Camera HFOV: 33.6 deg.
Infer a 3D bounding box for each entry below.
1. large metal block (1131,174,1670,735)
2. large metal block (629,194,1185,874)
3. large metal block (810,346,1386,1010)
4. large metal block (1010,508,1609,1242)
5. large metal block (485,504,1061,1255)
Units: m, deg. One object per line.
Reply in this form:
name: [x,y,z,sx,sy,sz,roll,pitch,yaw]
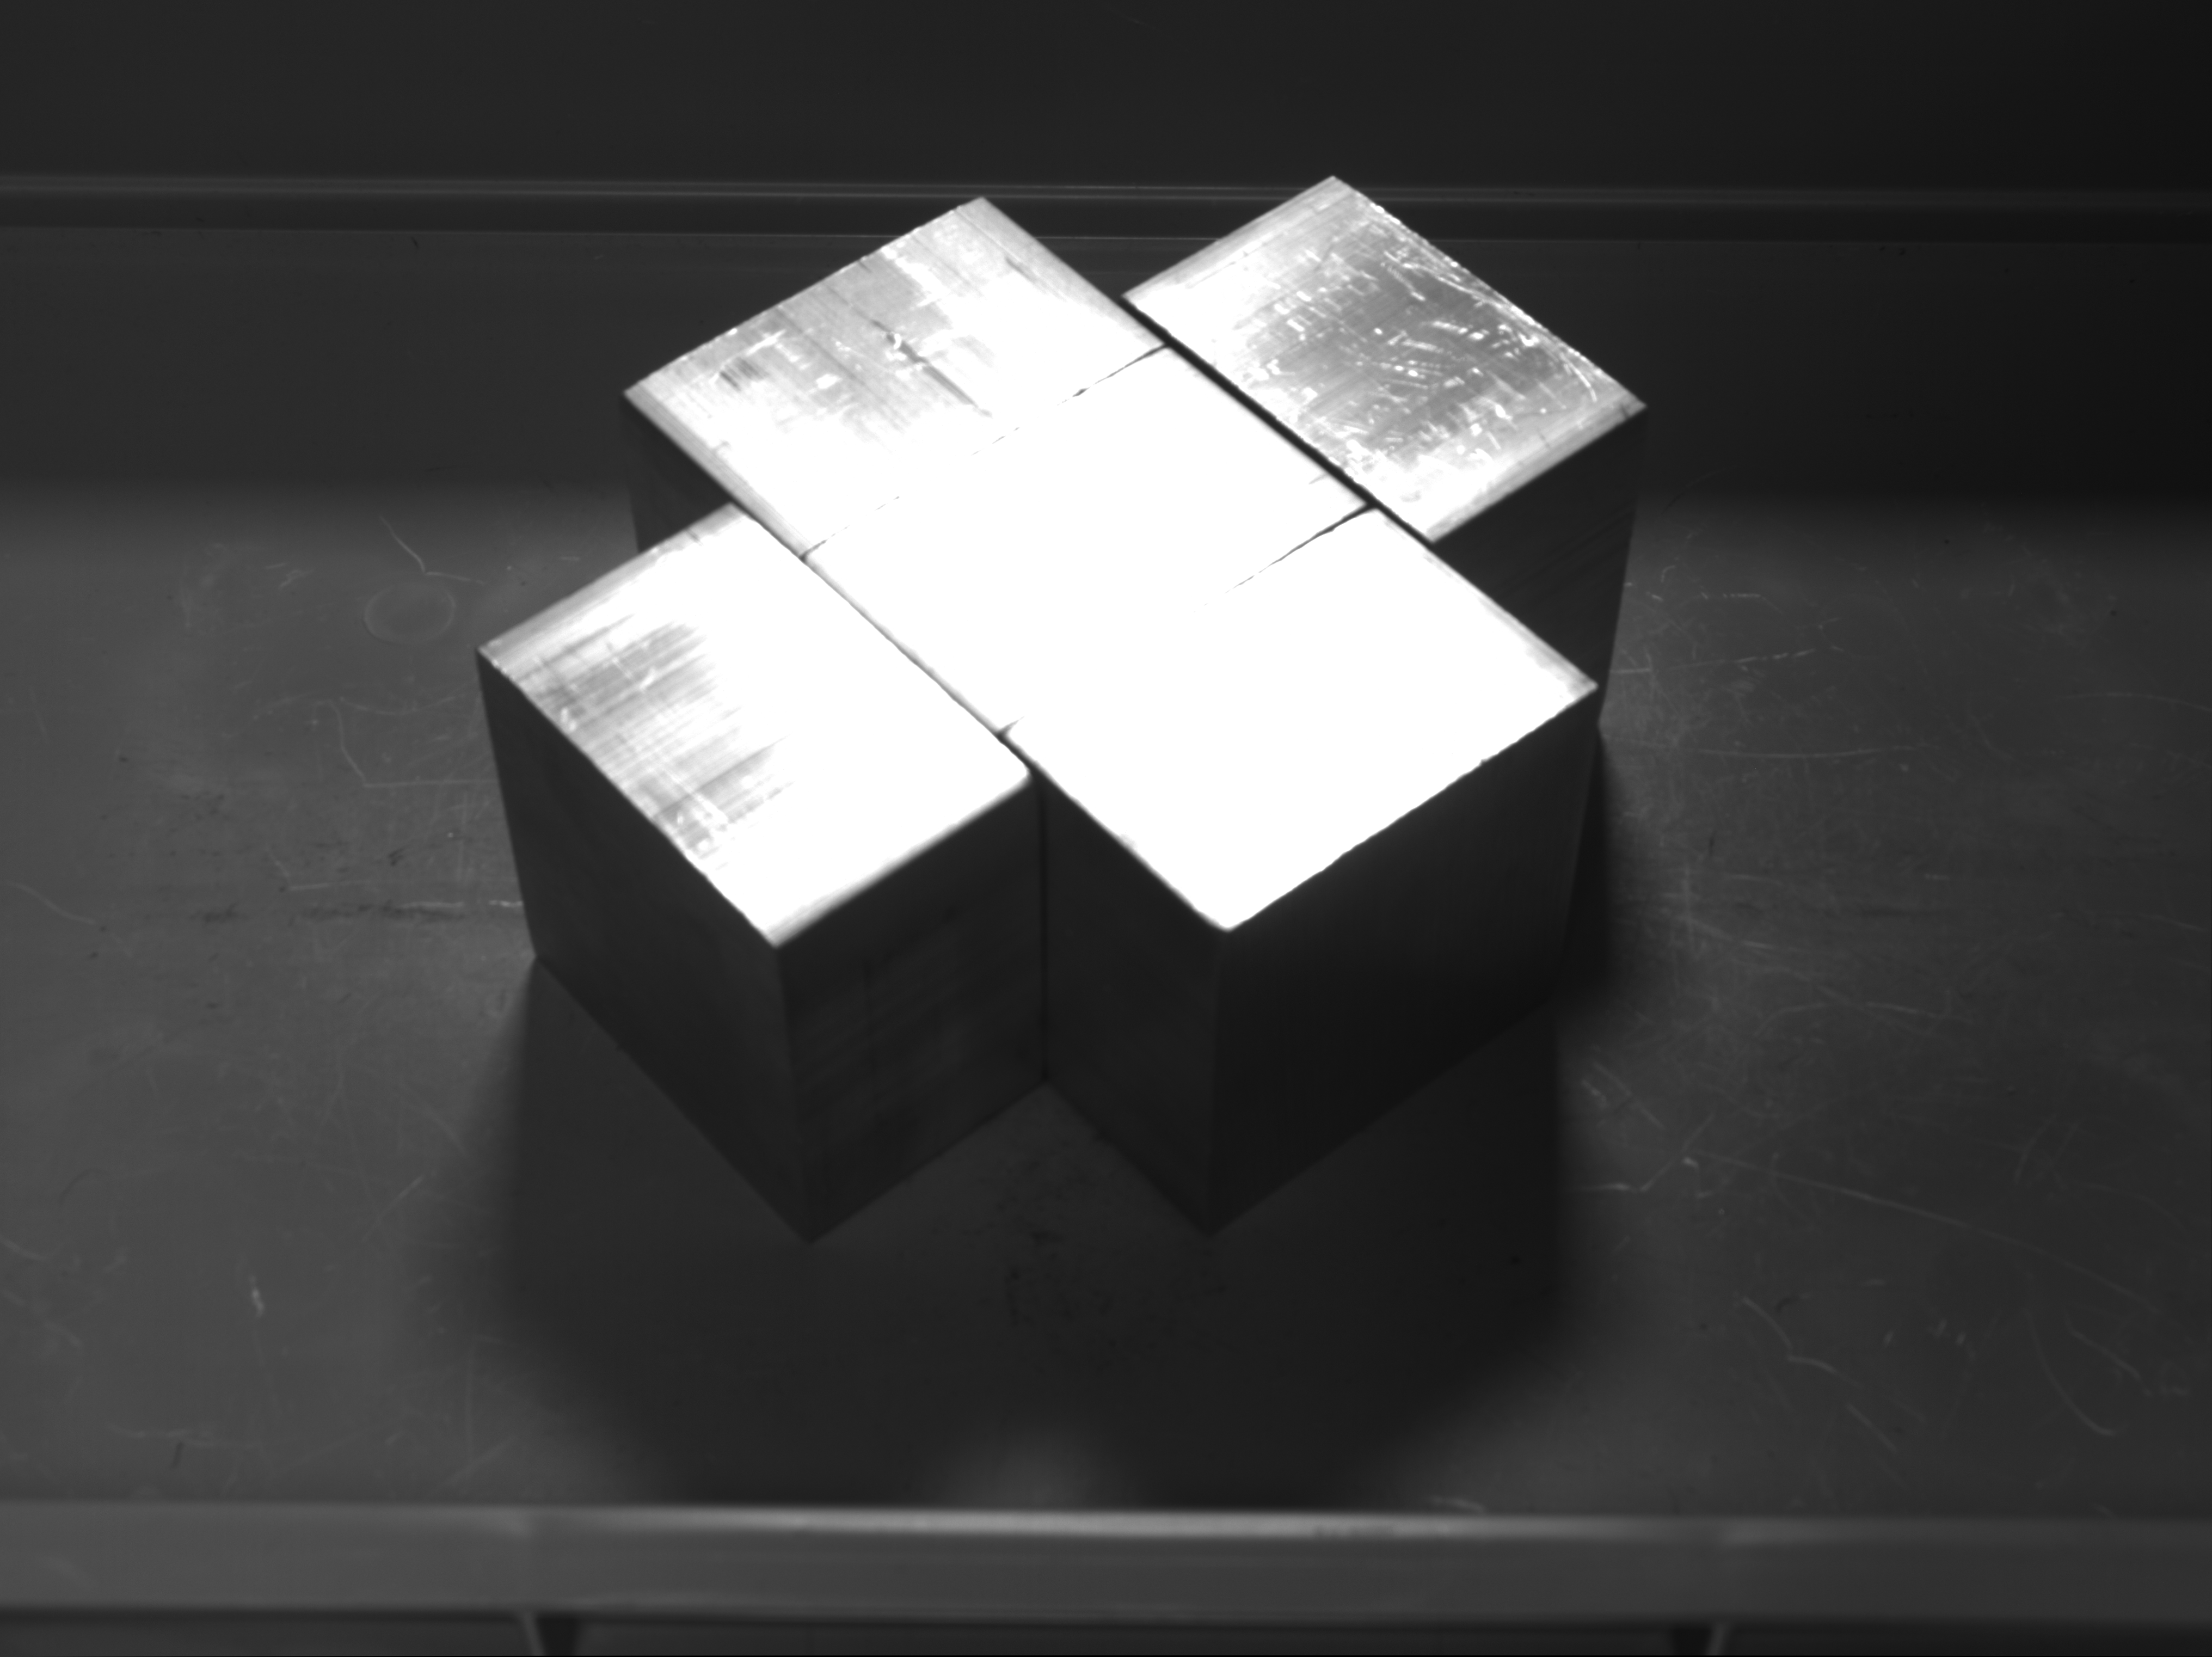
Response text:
large metal block: [0.050,-0.055,0.652,0.050,0.080,0.080,-33,57,-25]
large metal block: [-0.033,-0.052,0.649,0.080,0.080,0.050,-33,57,-24]
large metal block: [-0.001,-0.022,0.624,0.080,0.080,0.050,-33,57,-24]
large metal block: [0.032,0.008,0.599,0.080,0.080,0.050,-33,57,-24]
large metal block: [-0.053,0.008,0.599,0.050,0.080,0.080,-33,57,-25]
